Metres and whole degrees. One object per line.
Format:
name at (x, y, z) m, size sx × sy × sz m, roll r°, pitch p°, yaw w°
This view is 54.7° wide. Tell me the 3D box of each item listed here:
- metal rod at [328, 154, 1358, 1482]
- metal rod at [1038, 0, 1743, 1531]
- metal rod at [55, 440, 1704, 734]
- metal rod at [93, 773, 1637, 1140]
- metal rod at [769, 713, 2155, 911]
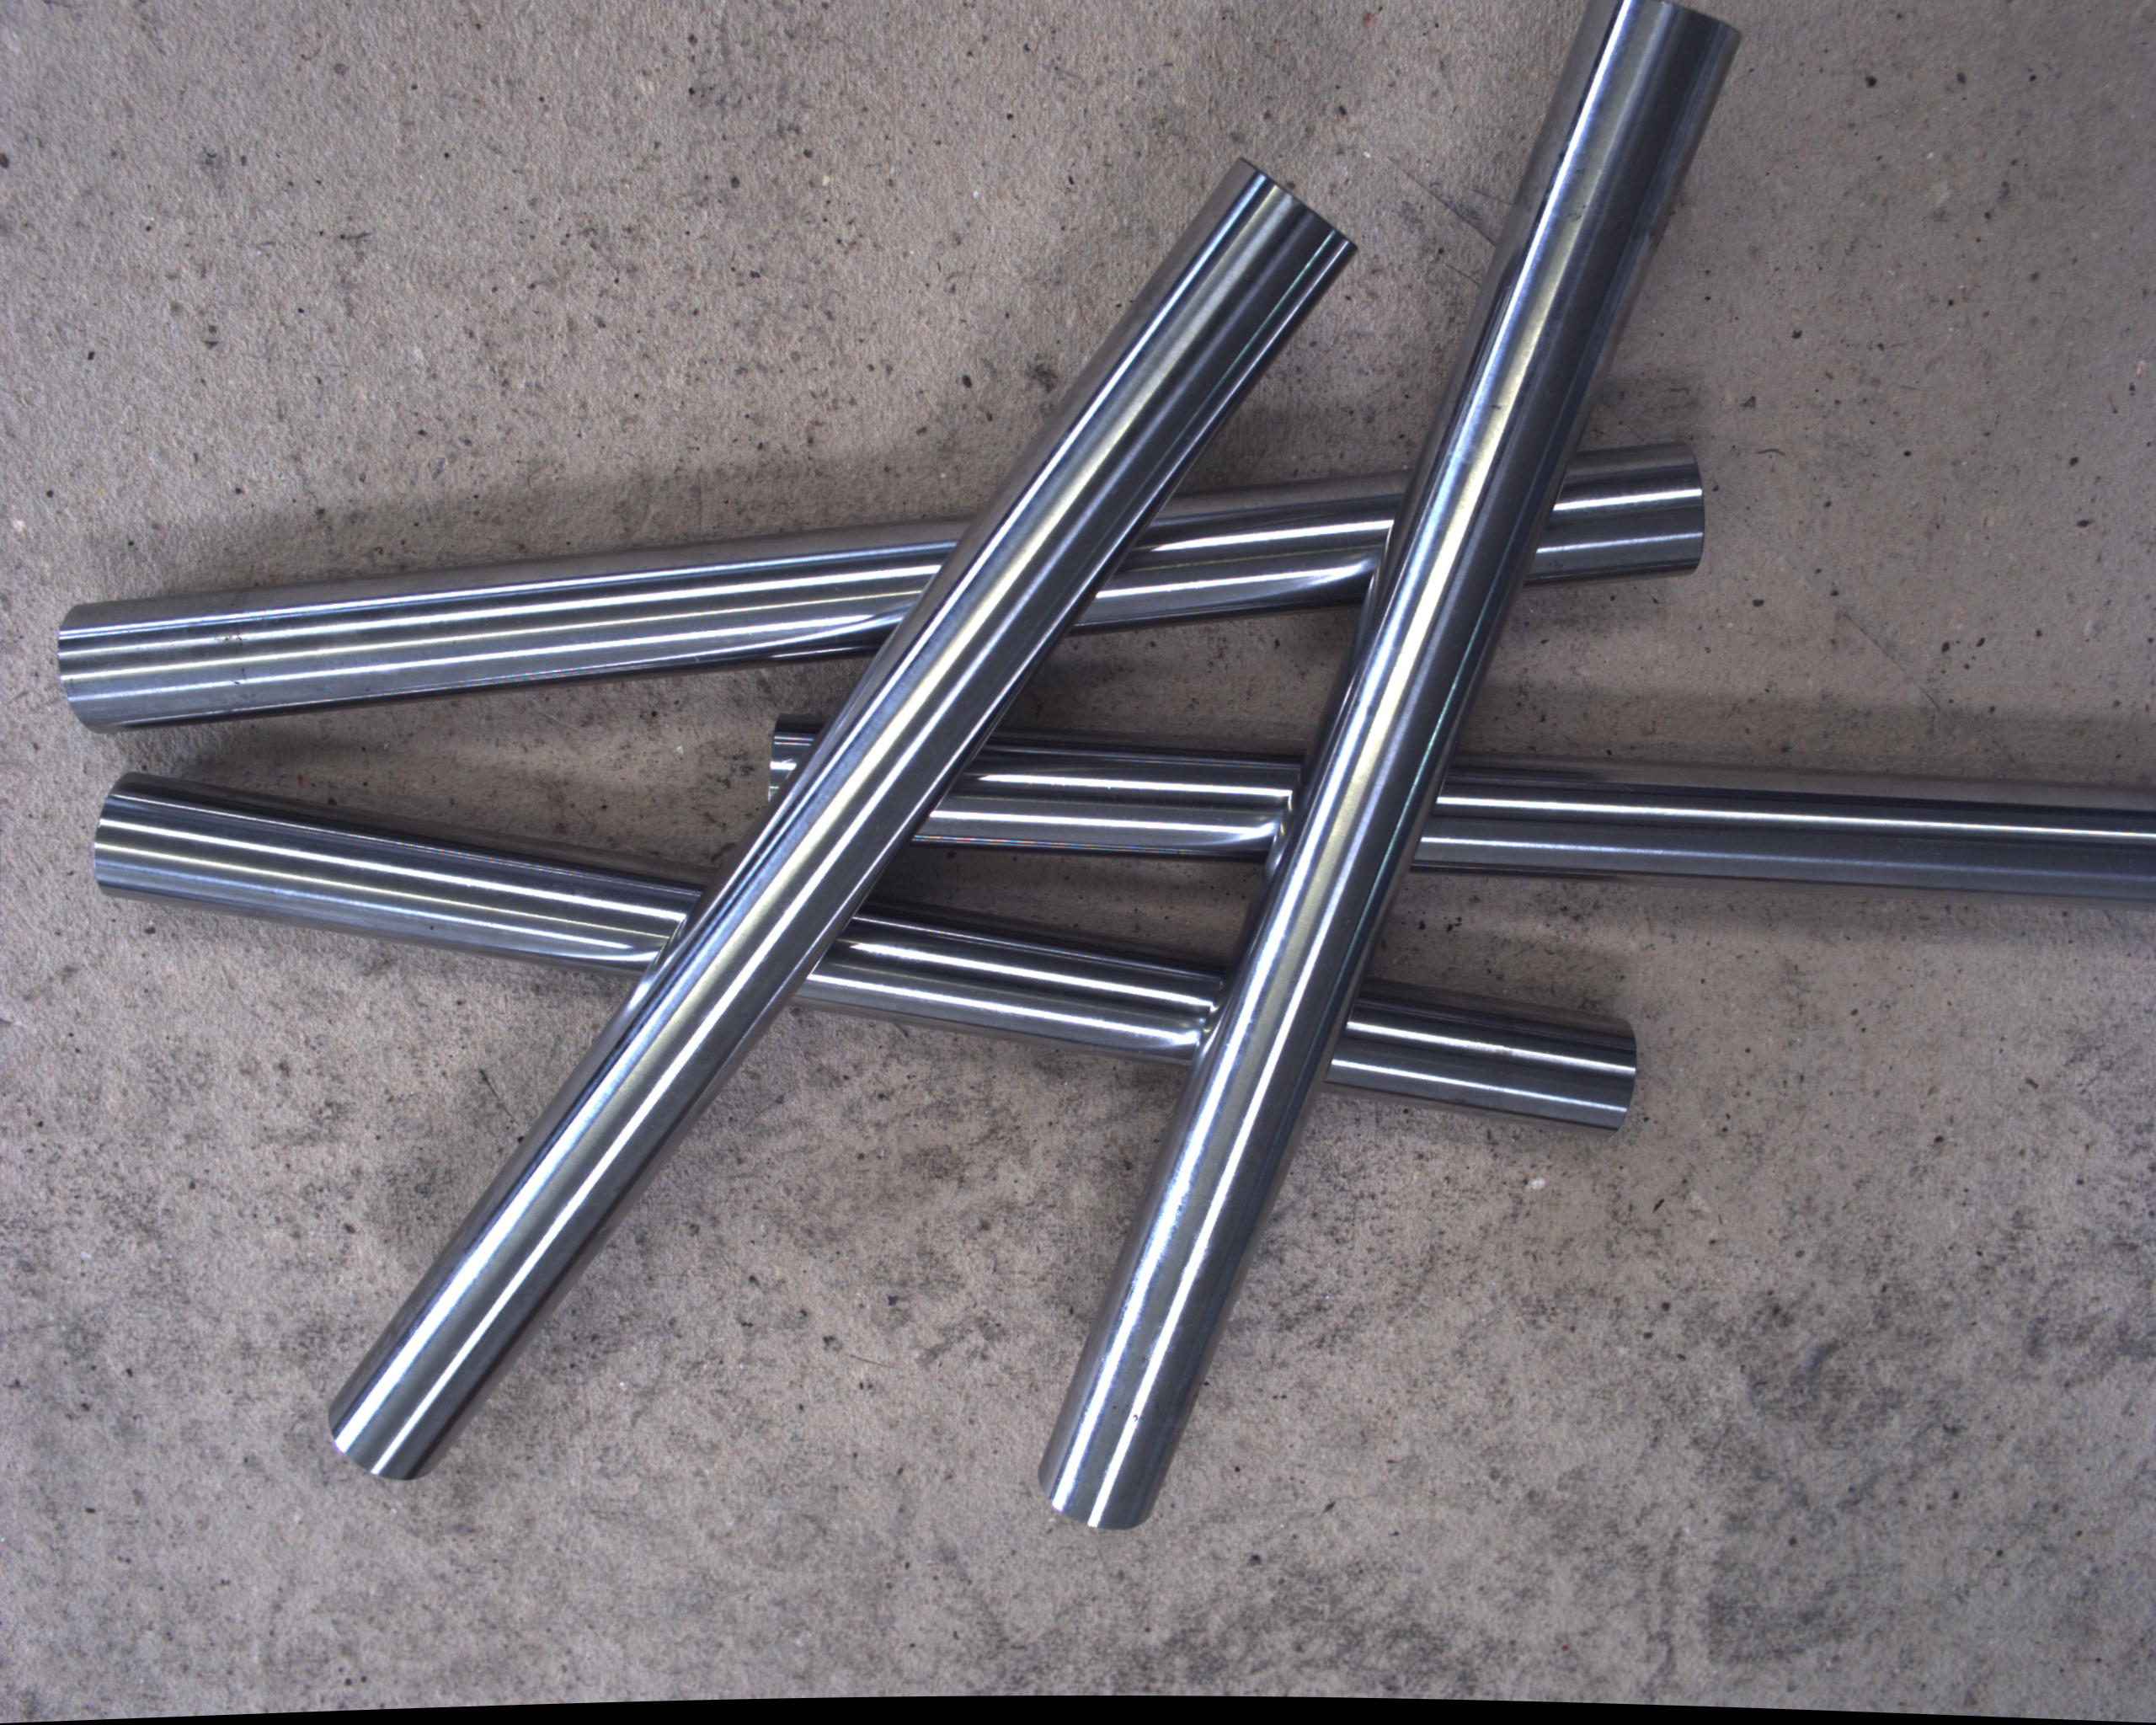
metal rod at (-0.053, 0.004, 0.385) m, size 0.025 × 0.025 × 0.299 m, roll 35°, pitch 106°, yaw -12°
metal rod at (0.049, -0.003, 0.384) m, size 0.025 × 0.025 × 0.298 m, roll 17°, pitch 109°, yaw -6°
metal rod at (-0.037, -0.051, 0.392) m, size 0.302 × 0.025 × 0.025 m, roll -6°, pitch 110°, yaw 2°
metal rod at (-0.038, 0.020, 0.418) m, size 0.302 × 0.025 × 0.025 m, roll 10°, pitch 110°, yaw -4°
metal rod at (0.093, -0.009, 0.408) m, size 0.302 × 0.025 × 0.025 m, roll 3°, pitch 110°, yaw -2°
